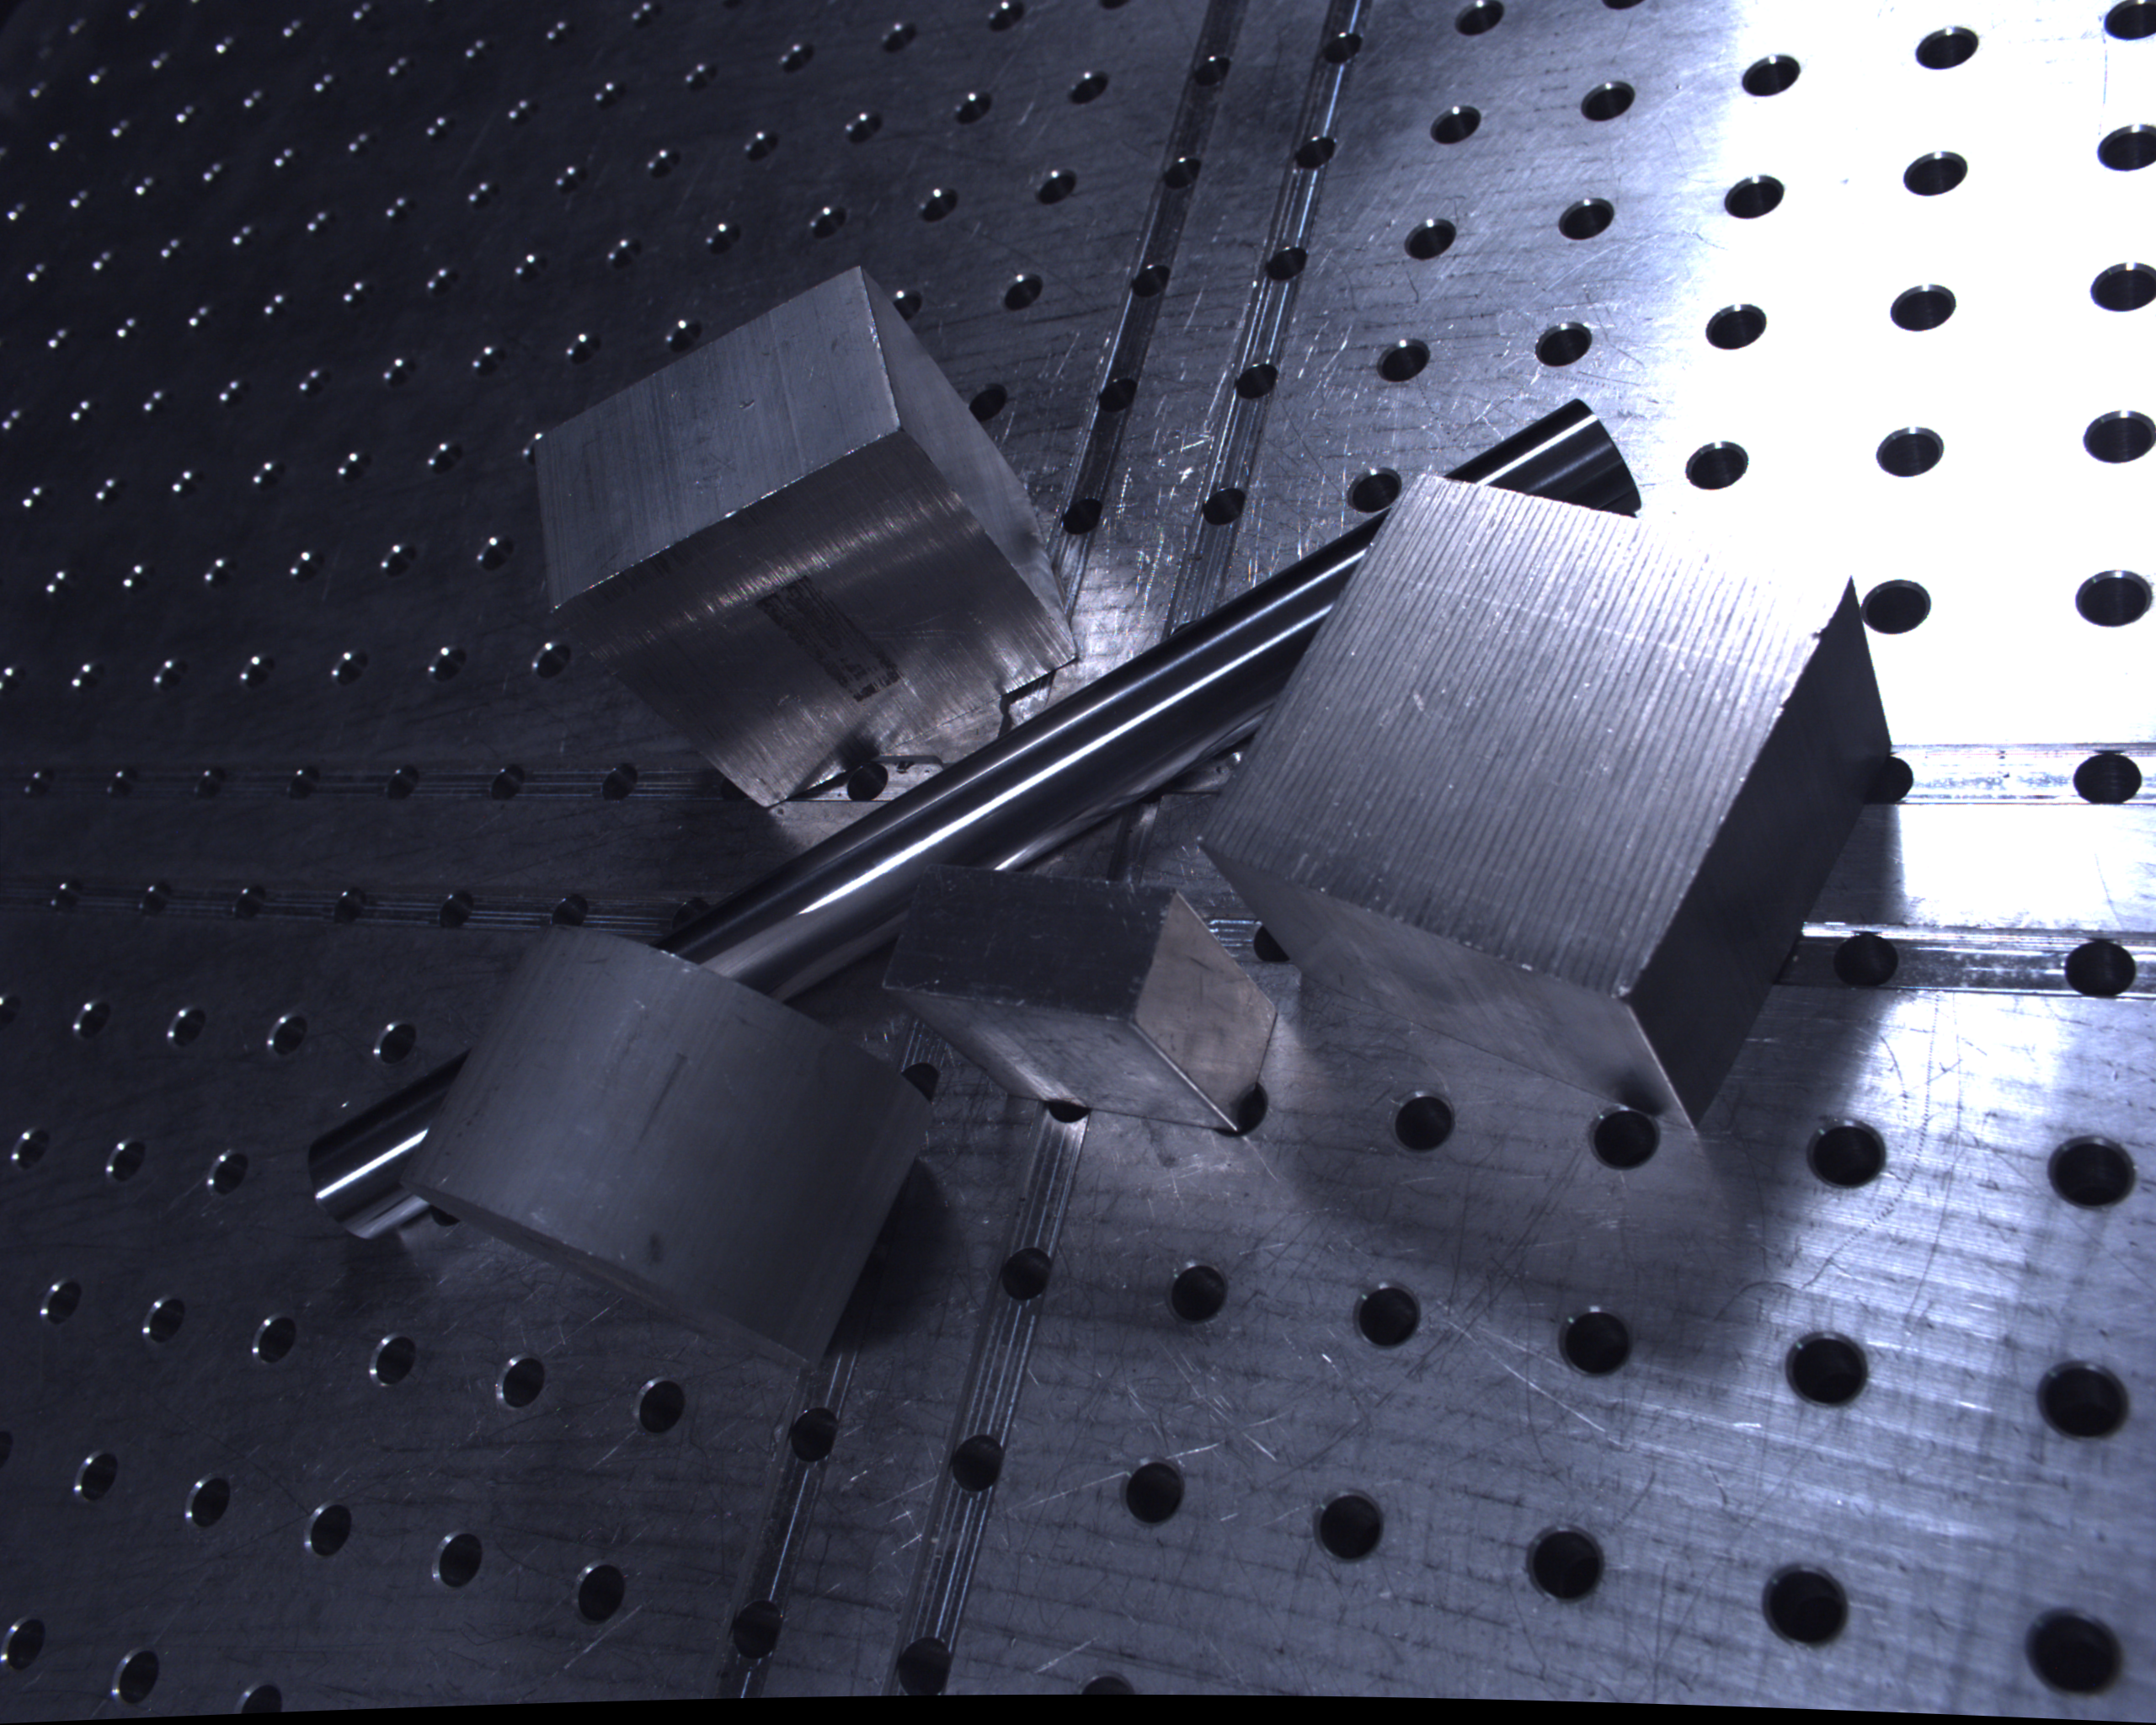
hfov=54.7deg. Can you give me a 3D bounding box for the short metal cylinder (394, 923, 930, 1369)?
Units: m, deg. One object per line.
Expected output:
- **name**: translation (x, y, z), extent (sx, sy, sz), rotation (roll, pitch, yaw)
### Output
- **short metal cylinder**: translation (-0.074, 0.052, 0.377), extent (0.080, 0.080, 0.050), rotation (12, 68, 33)

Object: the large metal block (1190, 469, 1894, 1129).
- **large metal block**: translation (0.080, -0.013, 0.354), extent (0.080, 0.050, 0.080), rotation (21, 73, 35)

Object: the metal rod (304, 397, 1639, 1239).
- **metal rod**: translation (-0.027, -0.005, 0.423), extent (0.301, 0.025, 0.025), rotation (-30, 52, 8)

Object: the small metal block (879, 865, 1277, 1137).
- **small metal block**: translation (0.001, 0.025, 0.375), extent (0.050, 0.050, 0.025), rotation (5, 65, 30)

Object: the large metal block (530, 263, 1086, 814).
- **large metal block**: translation (-0.056, -0.065, 0.442), extent (0.080, 0.080, 0.050), rotation (-25, 53, 12)
